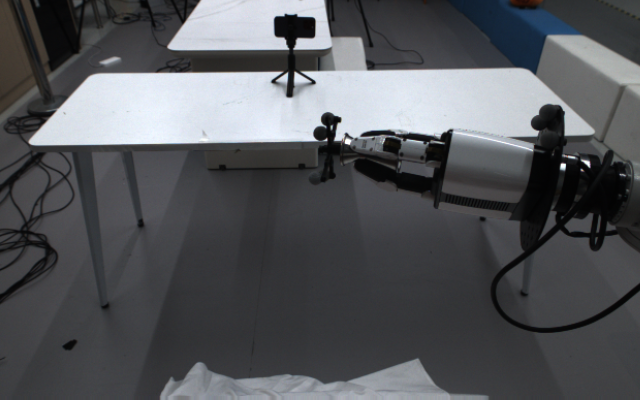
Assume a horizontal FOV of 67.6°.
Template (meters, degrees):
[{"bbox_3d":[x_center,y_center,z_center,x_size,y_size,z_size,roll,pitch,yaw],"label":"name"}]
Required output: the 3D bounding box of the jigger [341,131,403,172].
[{"bbox_3d":[0.067,-0.059,0.572,0.071,0.043,0.043,7,35,14],"label":"jigger"}]
